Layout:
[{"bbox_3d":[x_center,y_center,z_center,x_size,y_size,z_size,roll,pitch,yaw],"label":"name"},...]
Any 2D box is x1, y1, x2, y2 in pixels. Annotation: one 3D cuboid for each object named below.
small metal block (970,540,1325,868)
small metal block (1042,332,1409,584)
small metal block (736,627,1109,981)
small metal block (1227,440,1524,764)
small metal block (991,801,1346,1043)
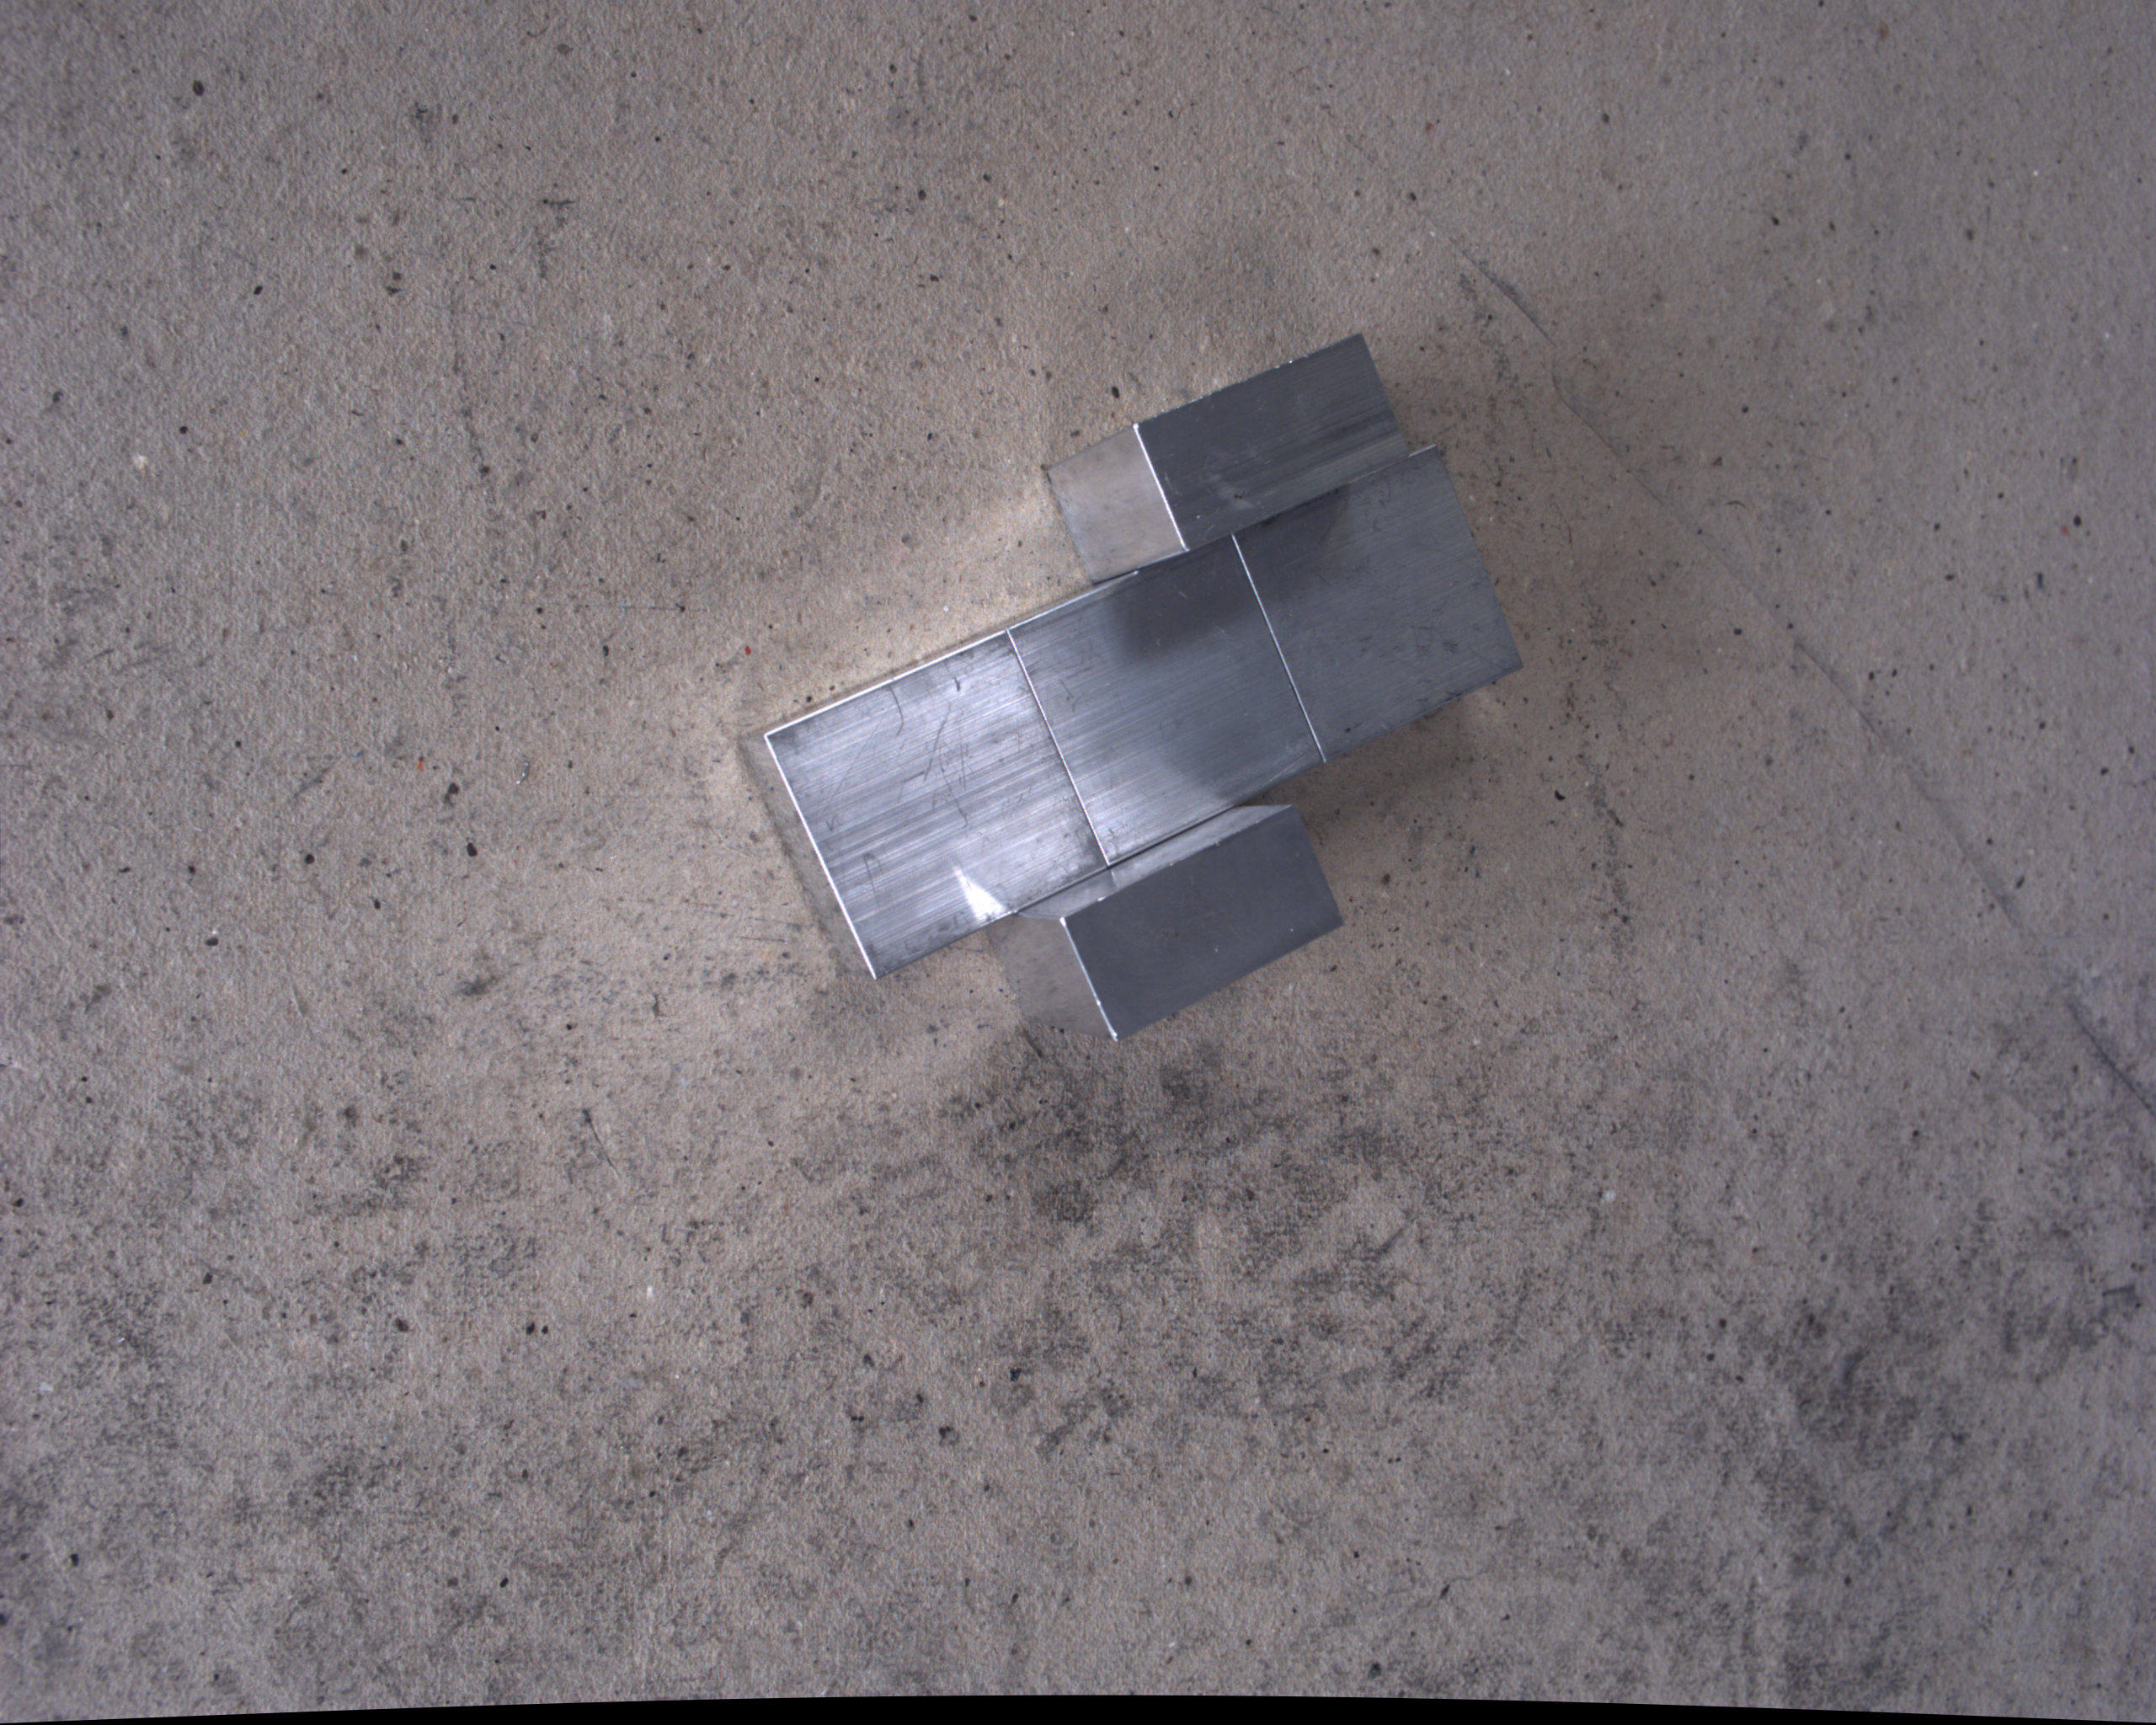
[{"bbox_3d":[0.014,-0.032,0.415,0.050,0.025,0.050,-26,99,-18],"label":"small metal block"},{"bbox_3d":[0.028,-0.078,0.407,0.050,0.050,0.025,-25,99,-17],"label":"small metal block"},{"bbox_3d":[-0.030,-0.011,0.399,0.050,0.025,0.050,-26,99,-18],"label":"small metal block"},{"bbox_3d":[0.057,-0.053,0.431,0.050,0.025,0.050,-26,99,-18],"label":"small metal block"},{"bbox_3d":[0.015,0.010,0.403,0.050,0.050,0.025,-26,98,-18],"label":"small metal block"}]
